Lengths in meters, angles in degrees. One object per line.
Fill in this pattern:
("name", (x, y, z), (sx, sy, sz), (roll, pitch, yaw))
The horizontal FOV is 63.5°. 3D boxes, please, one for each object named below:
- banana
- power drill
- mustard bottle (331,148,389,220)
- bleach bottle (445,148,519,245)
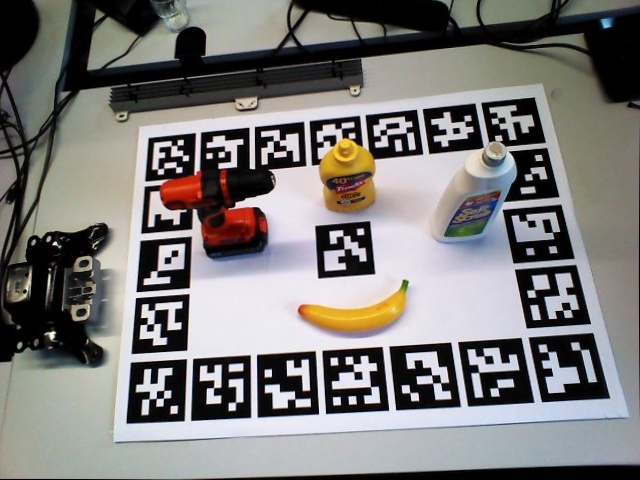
("banana", (0.082, 0.124, 0.855), (0.198, 0.039, 0.074), (-10, 70, 7))
("power drill", (-0.121, -0.049, 0.845), (0.185, 0.187, 0.057), (-11, 68, 8))
("mustard bottle", (0.068, -0.098, 0.869), (0.096, 0.192, 0.058), (-12, 68, 1))
("bleach bottle", (0.257, -0.065, 0.796), (0.103, 0.251, 0.067), (3, 70, 8))
